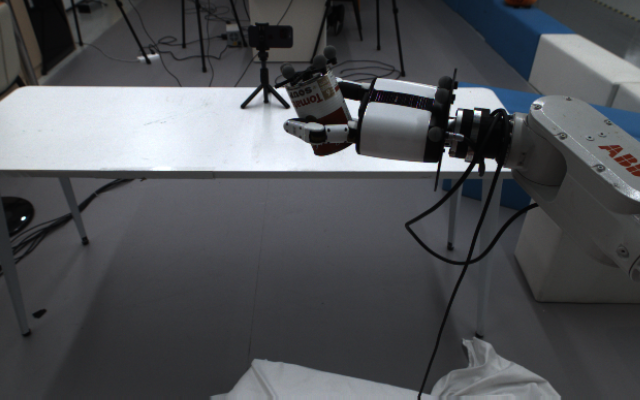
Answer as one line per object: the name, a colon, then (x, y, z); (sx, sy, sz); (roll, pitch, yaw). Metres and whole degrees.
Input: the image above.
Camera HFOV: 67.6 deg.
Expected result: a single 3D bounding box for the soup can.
soup can: (0.004, -0.121, 0.654); (0.067, 0.101, 0.067); (-21, 24, 10)
